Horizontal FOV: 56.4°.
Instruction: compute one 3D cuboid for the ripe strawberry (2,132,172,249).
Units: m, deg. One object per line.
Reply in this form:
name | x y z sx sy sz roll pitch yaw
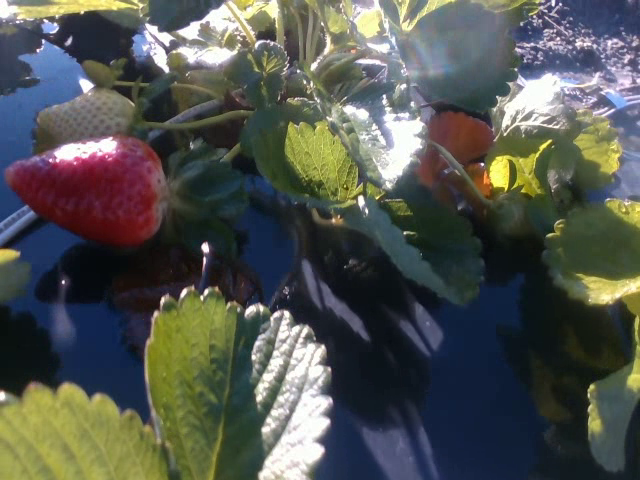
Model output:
ripe strawberry | -0.092 -0.026 0.248 0.080 0.063 0.040 6 -20 -32
